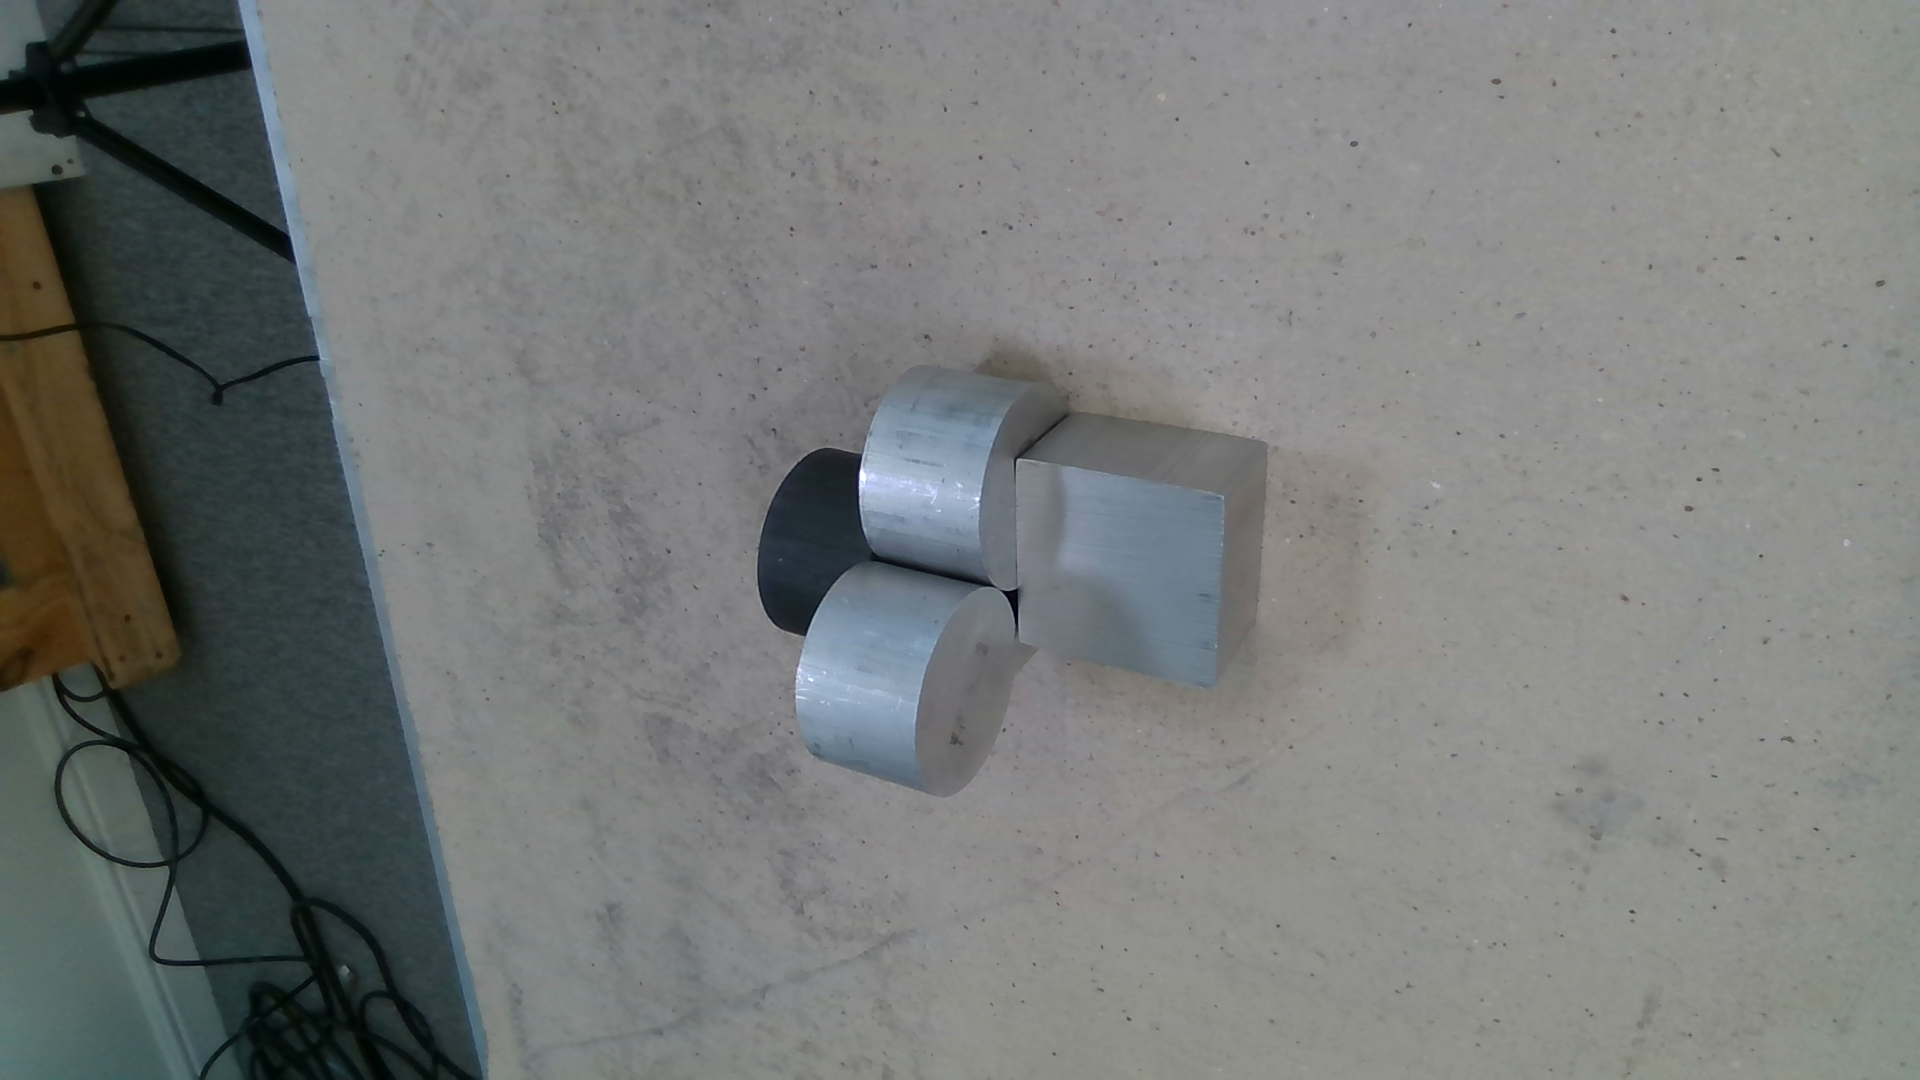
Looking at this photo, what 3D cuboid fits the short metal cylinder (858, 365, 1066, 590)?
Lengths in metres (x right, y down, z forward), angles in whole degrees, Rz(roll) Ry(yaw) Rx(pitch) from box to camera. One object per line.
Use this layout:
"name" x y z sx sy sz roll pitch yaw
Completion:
"short metal cylinder" 0.003 -0.025 0.530 0.050 0.080 0.080 12 121 26

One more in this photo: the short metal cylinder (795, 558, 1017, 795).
"short metal cylinder" -0.019 0.050 0.520 0.050 0.080 0.080 12 121 26

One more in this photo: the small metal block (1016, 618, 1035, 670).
"small metal block" 0.012 0.025 0.574 0.050 0.050 0.025 15 122 24

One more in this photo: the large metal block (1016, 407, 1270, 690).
"large metal block" 0.069 0.001 0.524 0.080 0.050 0.080 12 121 26

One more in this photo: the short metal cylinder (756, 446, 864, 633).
"short metal cylinder" -0.041 0.005 0.573 0.050 0.080 0.080 14 122 25
